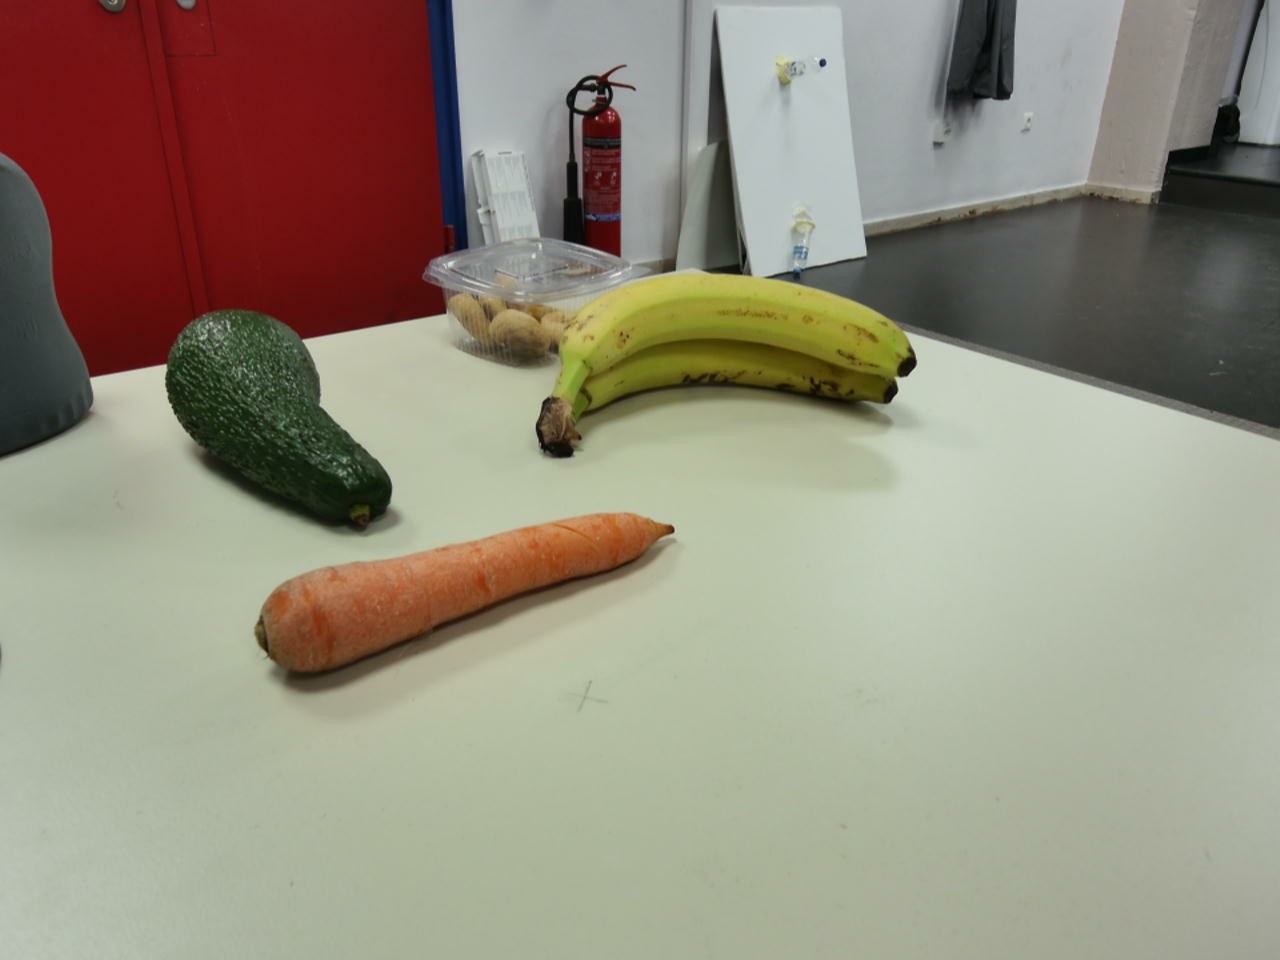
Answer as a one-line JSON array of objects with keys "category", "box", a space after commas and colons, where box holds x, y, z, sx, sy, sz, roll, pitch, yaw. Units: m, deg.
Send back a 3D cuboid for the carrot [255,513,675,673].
[{"category": "carrot", "box": [-0.063, 0.035, 0.424, 0.196, 0.041, 0.039, -18, 30, -35]}]
